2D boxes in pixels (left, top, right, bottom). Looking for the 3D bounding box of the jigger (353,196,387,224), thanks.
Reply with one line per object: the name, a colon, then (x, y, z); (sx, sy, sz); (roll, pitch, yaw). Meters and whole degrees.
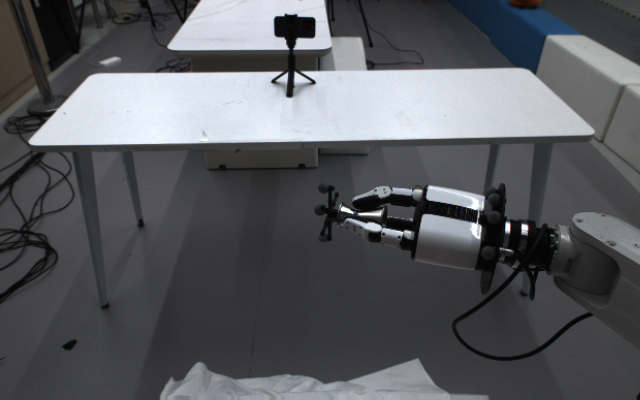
jigger: (0.070, 0.022, 0.728); (0.071, 0.043, 0.043); (6, 34, 16)
